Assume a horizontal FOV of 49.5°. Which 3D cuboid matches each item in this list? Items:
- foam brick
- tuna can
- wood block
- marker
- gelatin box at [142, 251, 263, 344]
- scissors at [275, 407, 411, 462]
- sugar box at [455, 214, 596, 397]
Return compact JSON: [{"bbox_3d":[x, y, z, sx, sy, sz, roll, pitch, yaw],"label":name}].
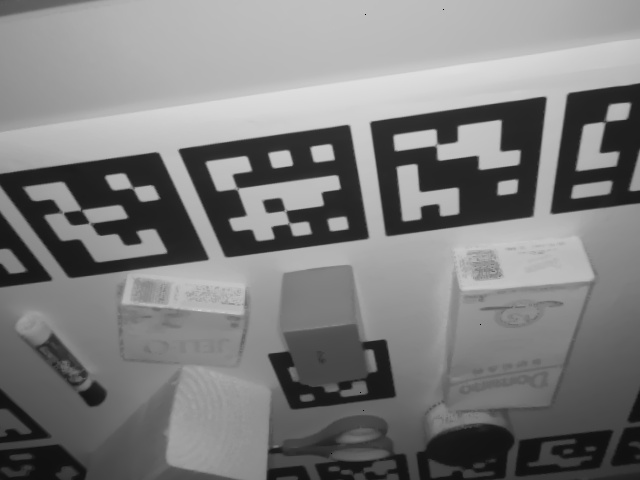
[{"bbox_3d":[0.011,0.049,0.533,0.053,0.052,0.077,-7,132,4],"label":"foam brick"},{"bbox_3d":[0.163,0.183,0.680,0.086,0.034,0.085,-2,132,-1],"label":"tuna can"},{"bbox_3d":[-0.132,0.201,0.649,0.090,0.091,0.203,25,128,-25],"label":"wood block"},{"bbox_3d":[-0.194,0.089,0.583,0.019,0.020,0.120,-8,131,5],"label":"marker"},{"bbox_3d":[-0.093,0.047,0.545,0.090,0.030,0.072,5,132,-8],"label":"gelatin box"},{"bbox_3d":[-0.006,0.205,0.708,0.203,0.016,0.087,-4,133,-2],"label":"scissors"},{"bbox_3d":[0.159,0.060,0.563,0.093,0.045,0.175,-5,133,3],"label":"sugar box"}]
